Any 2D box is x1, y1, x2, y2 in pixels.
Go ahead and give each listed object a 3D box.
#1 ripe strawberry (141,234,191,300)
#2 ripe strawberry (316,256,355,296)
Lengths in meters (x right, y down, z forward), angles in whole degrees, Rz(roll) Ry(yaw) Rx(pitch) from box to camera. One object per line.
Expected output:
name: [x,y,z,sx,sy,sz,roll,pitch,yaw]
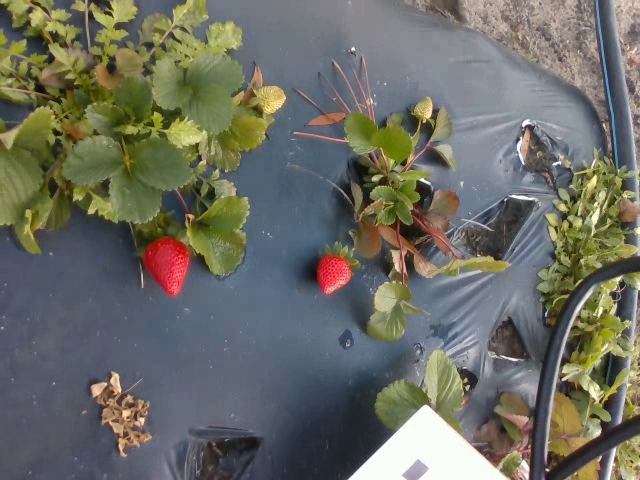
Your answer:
ripe strawberry: [-0.123,0.026,0.462,0.046,0.050,0.051,-31,-47,13]
ripe strawberry: [0.011,0.038,0.544,0.041,0.045,0.052,4,42,21]
